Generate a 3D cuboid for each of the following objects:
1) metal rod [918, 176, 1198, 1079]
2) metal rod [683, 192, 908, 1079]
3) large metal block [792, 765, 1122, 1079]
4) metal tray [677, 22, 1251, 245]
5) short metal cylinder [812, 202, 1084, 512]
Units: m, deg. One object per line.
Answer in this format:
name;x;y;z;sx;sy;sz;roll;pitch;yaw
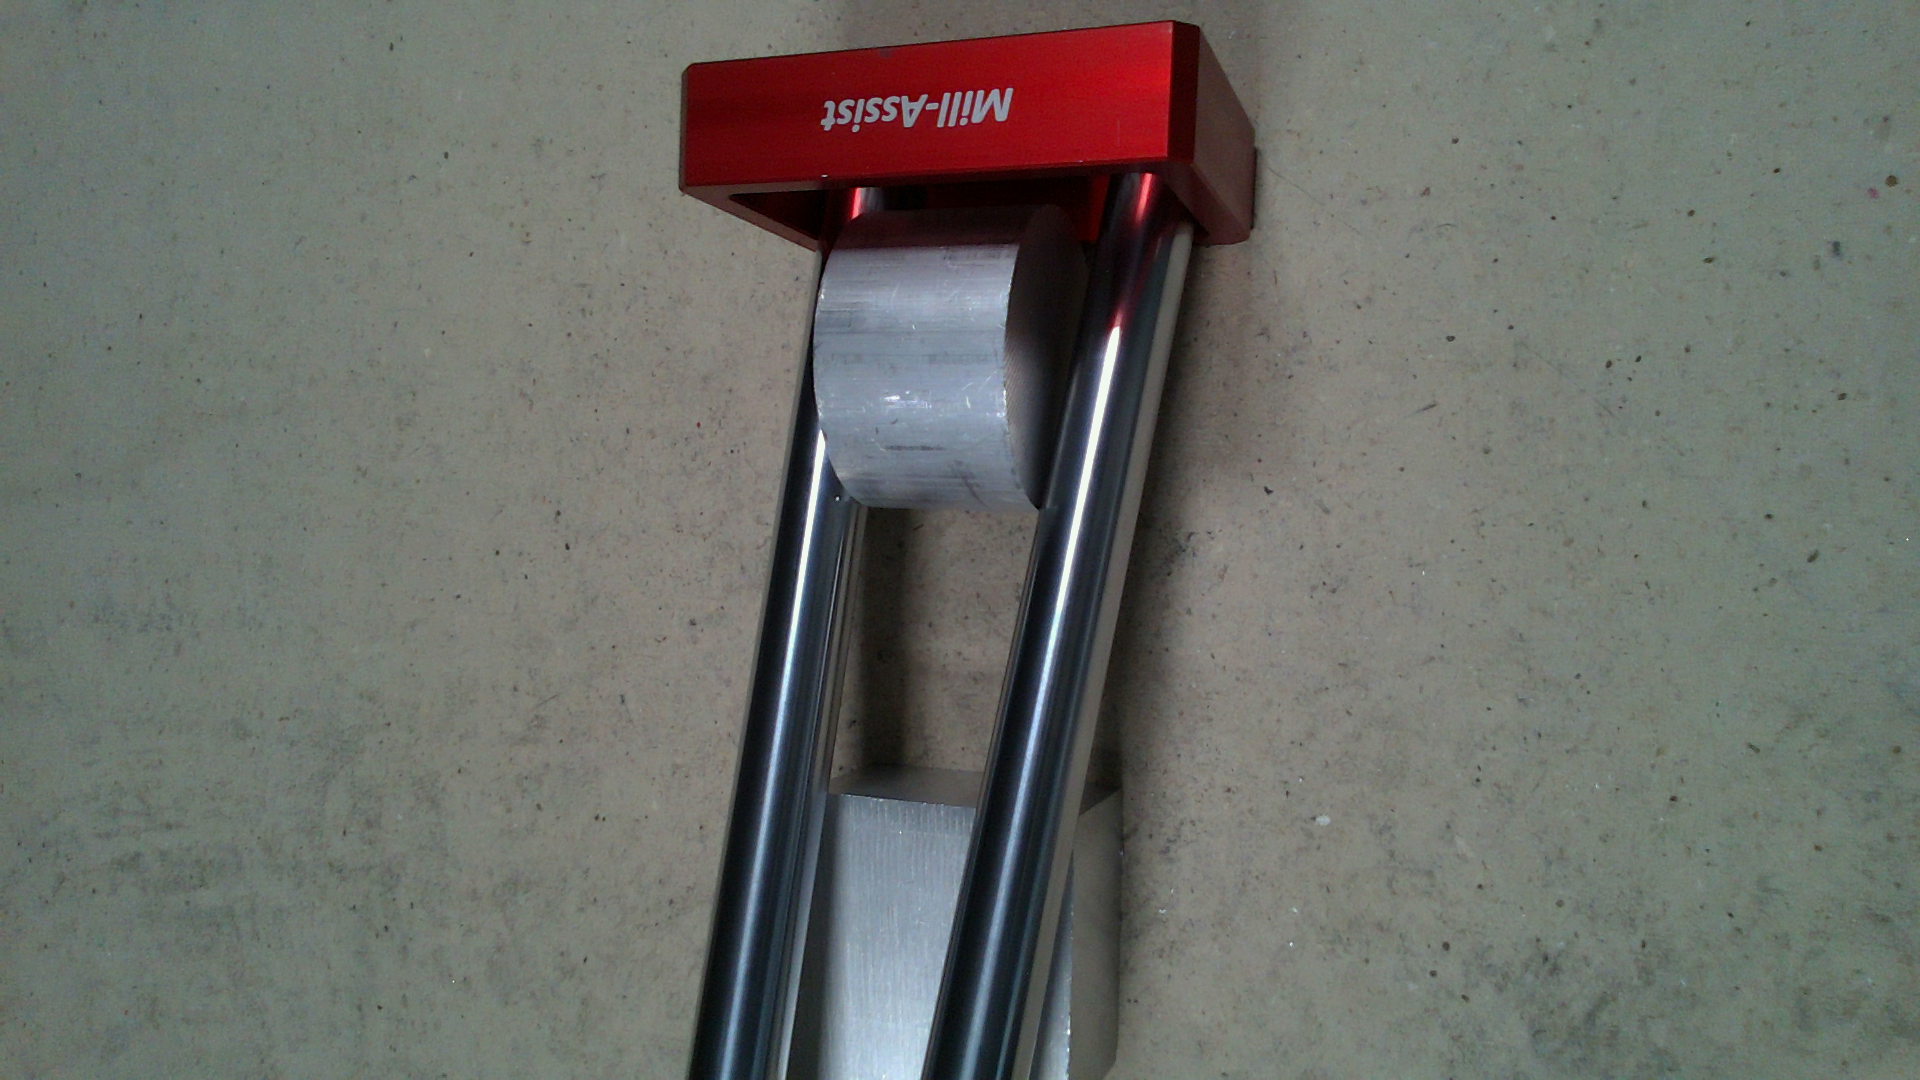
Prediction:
metal rod;0.021;0.048;0.339;0.025;0.025;0.300;9;78;20
metal rod;-0.045;0.045;0.364;0.025;0.025;0.300;2;76;20
large metal block;-0.001;0.109;0.381;0.080;0.050;0.080;2;91;20
metal tray;0.004;-0.100;0.359;0.130;0.090;0.030;2;91;20
short metal cylinder;0.001;-0.048;0.367;0.050;0.080;0.080;2;91;20
